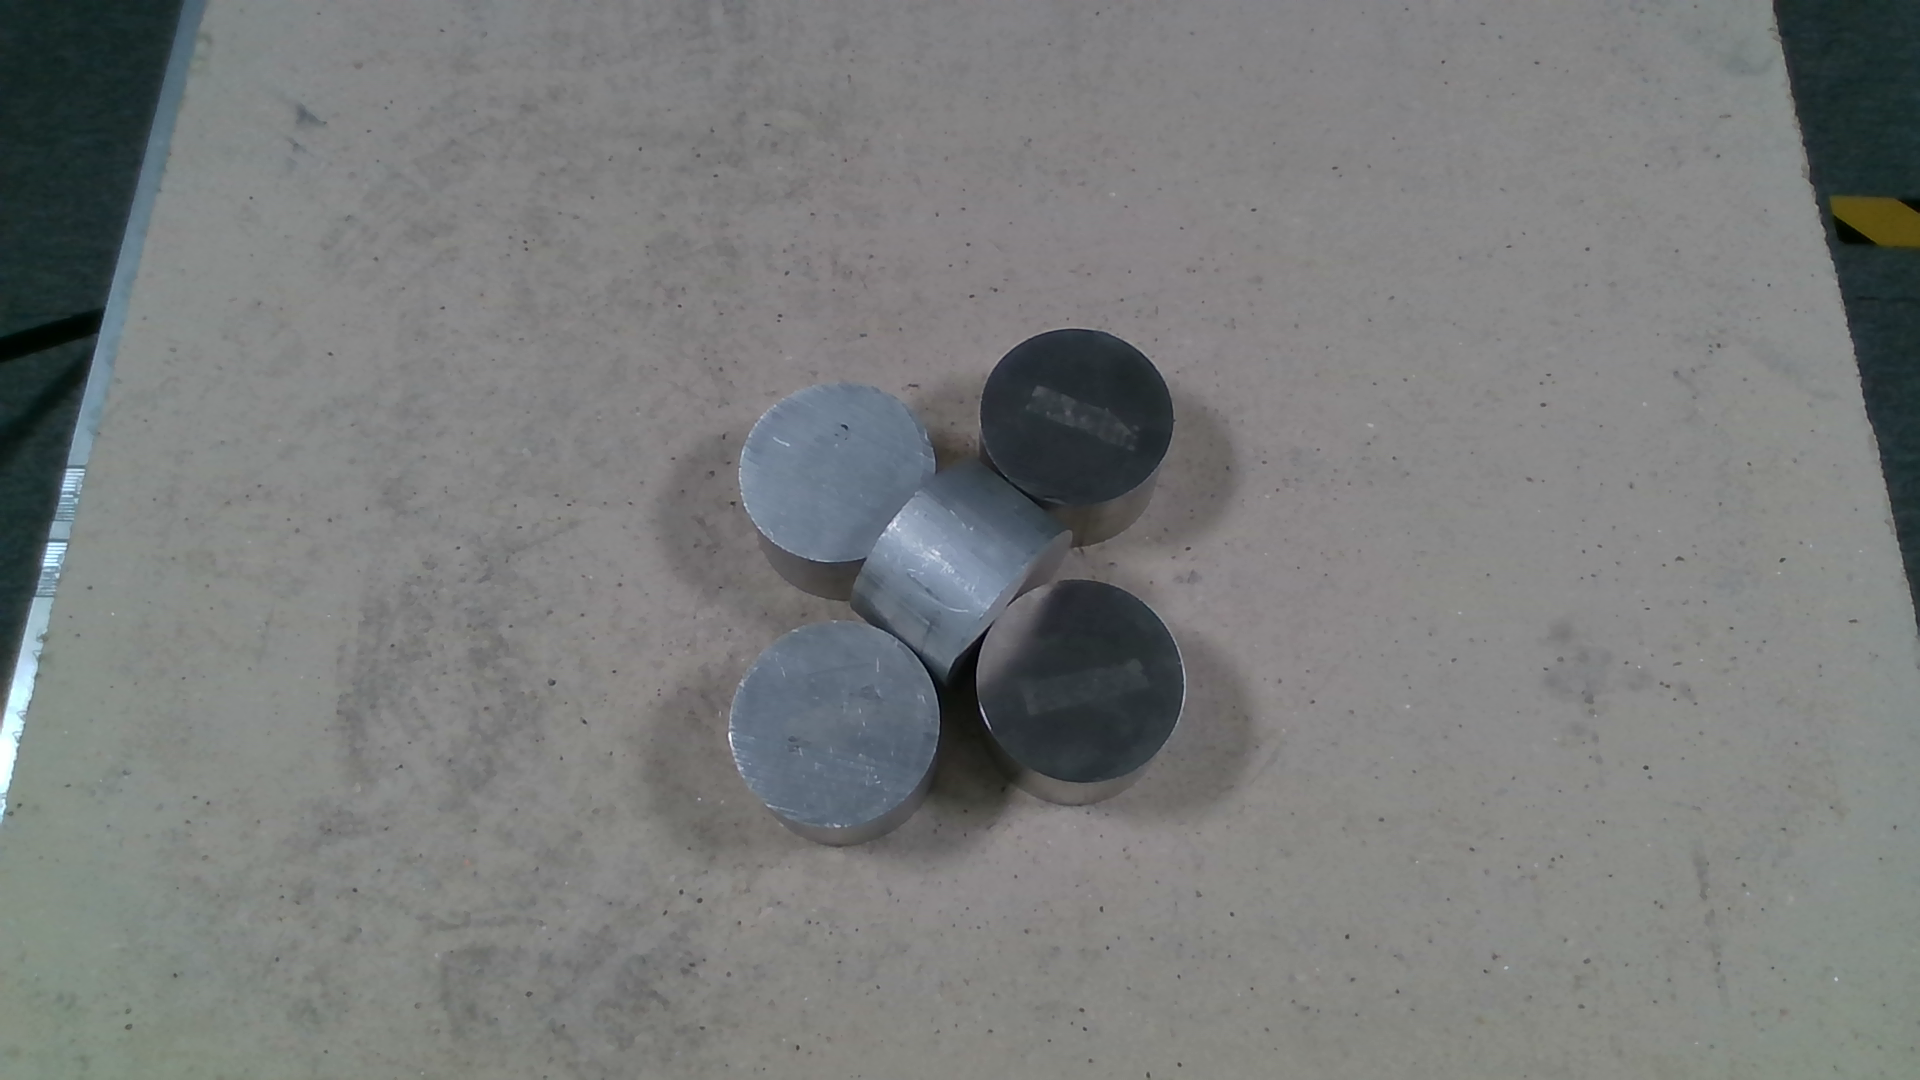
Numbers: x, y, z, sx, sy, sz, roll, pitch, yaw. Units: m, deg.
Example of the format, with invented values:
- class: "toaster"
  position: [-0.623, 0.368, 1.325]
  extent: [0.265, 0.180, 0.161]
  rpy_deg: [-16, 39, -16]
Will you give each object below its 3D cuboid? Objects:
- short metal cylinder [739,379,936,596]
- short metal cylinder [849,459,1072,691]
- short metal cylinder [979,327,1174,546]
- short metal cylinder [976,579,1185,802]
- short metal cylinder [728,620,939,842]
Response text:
- class: "short metal cylinder"
  position: [-0.050, -0.021, 0.581]
  extent: [0.080, 0.050, 0.080]
  rpy_deg: [0, 70, 0]
- class: "short metal cylinder"
  position: [0.001, 0.014, 0.554]
  extent: [0.050, 0.080, 0.080]
  rpy_deg: [38, 74, 12]
- class: "short metal cylinder"
  position: [0.048, -0.043, 0.589]
  extent: [0.080, 0.050, 0.080]
  rpy_deg: [0, 70, 0]
- class: "short metal cylinder"
  position: [0.046, 0.061, 0.551]
  extent: [0.080, 0.050, 0.080]
  rpy_deg: [0, 70, 0]
- class: "short metal cylinder"
  position: [-0.048, 0.077, 0.546]
  extent: [0.080, 0.050, 0.080]
  rpy_deg: [0, 70, 0]
